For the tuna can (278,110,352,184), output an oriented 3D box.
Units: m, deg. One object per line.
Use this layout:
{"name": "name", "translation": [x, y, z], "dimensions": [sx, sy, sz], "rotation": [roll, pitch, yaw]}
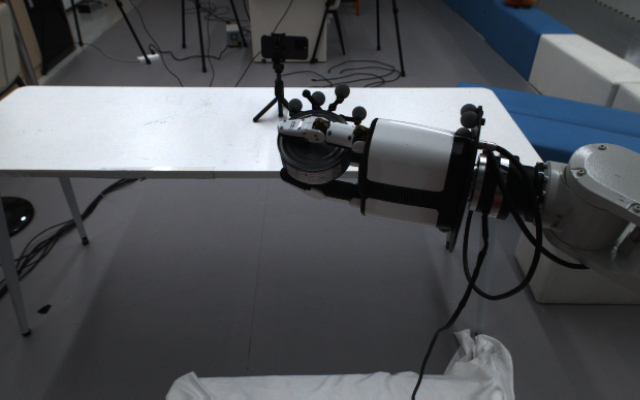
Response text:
{"name": "tuna can", "translation": [-0.005, -0.065, 0.557], "dimensions": [0.085, 0.034, 0.085], "rotation": [-2, 56, 3]}
